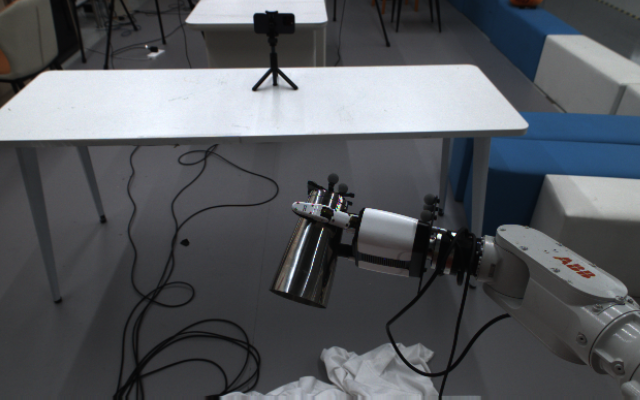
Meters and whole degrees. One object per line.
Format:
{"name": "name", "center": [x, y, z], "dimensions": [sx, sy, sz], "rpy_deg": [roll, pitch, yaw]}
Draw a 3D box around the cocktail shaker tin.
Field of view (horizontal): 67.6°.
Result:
{"name": "cocktail shaker tin", "center": [-0.009, 0.071, 0.760], "dimensions": [0.093, 0.093, 0.170], "rpy_deg": [13, 71, 15]}
